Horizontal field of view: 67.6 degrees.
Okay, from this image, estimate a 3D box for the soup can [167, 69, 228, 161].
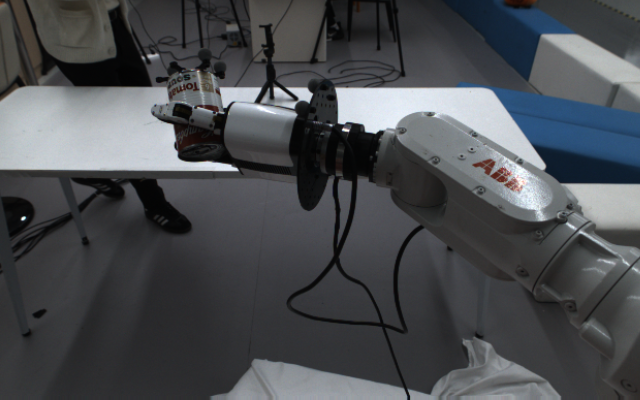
[{"bbox_3d":[-0.156,-0.106,0.626,0.067,0.067,0.101,-10,79,-17],"label":"soup can"}]
